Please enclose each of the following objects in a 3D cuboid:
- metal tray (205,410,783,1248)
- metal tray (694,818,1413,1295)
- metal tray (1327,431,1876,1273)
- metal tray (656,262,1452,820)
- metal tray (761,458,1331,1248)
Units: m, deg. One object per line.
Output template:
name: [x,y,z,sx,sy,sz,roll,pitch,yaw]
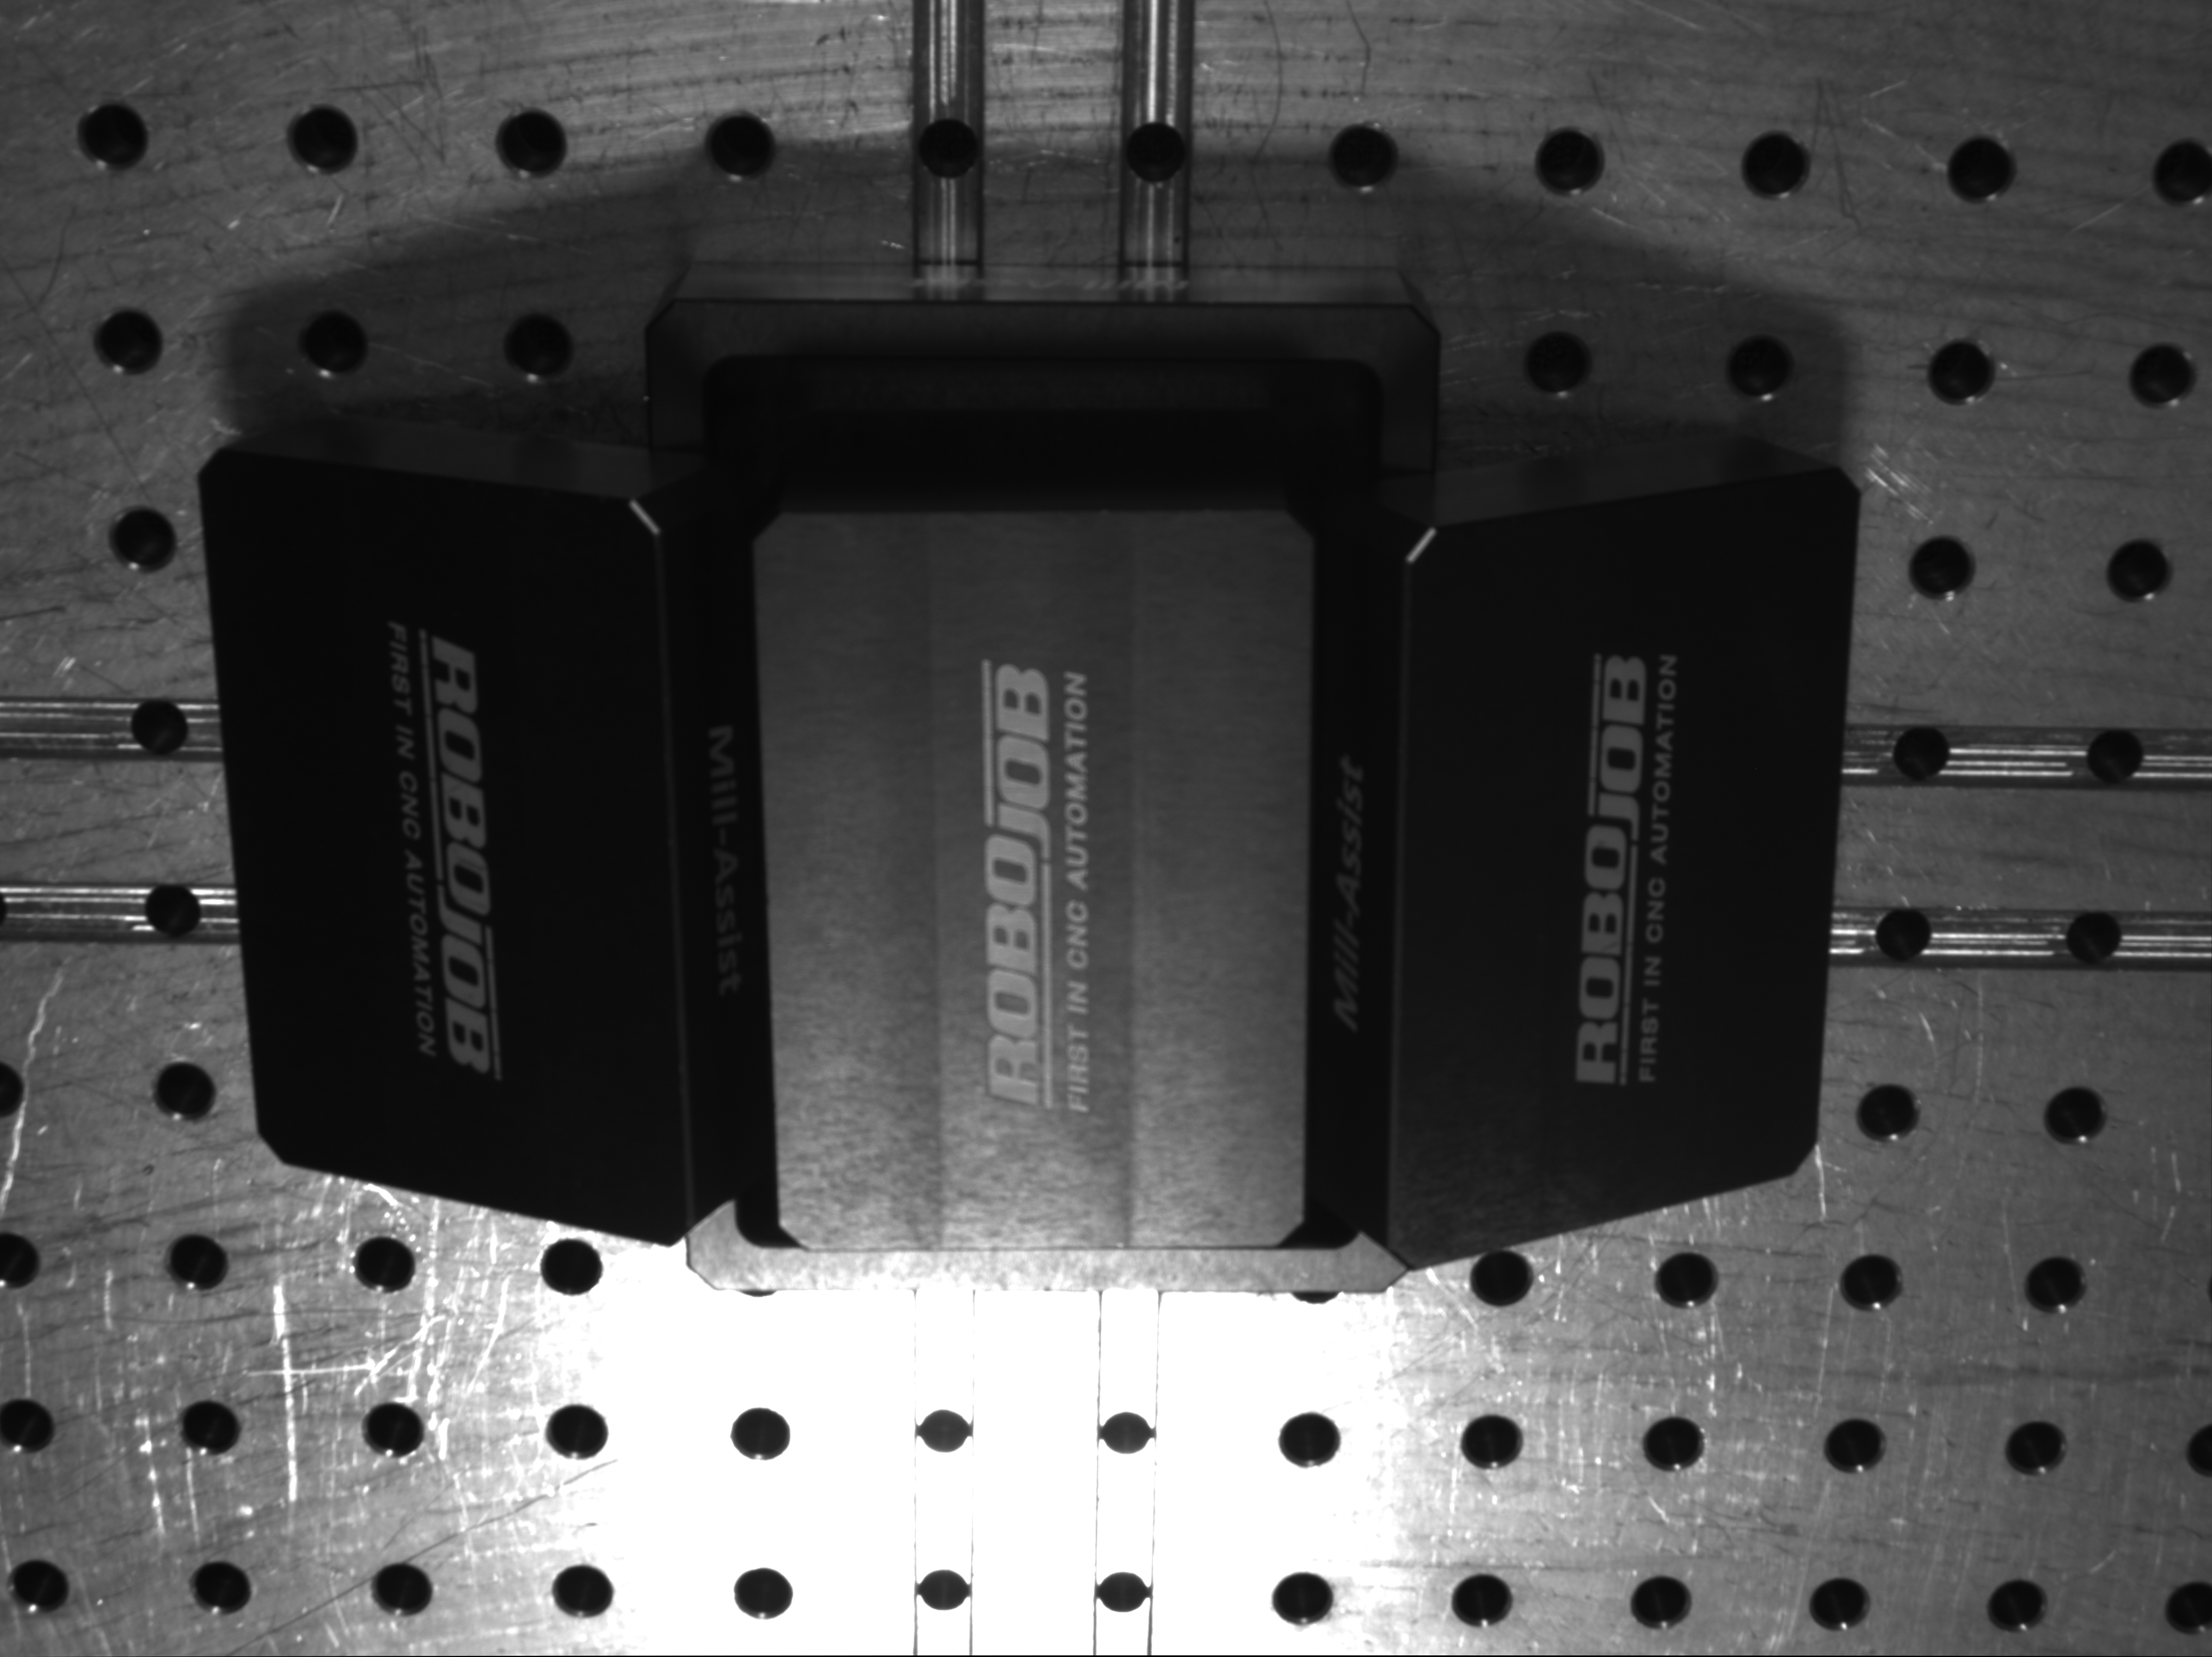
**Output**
metal tray: [-0.103,-0.001,0.622,0.090,0.030,0.130,9,112,24]
metal tray: [-0.008,0.037,0.656,0.130,0.030,0.090,0,110,-1]
metal tray: [0.083,0.003,0.625,0.090,0.030,0.130,-11,112,-26]
metal tray: [-0.009,-0.049,0.625,0.130,0.030,0.090,0,110,-1]
metal tray: [-0.009,0.005,0.612,0.090,0.030,0.130,0,110,-1]
